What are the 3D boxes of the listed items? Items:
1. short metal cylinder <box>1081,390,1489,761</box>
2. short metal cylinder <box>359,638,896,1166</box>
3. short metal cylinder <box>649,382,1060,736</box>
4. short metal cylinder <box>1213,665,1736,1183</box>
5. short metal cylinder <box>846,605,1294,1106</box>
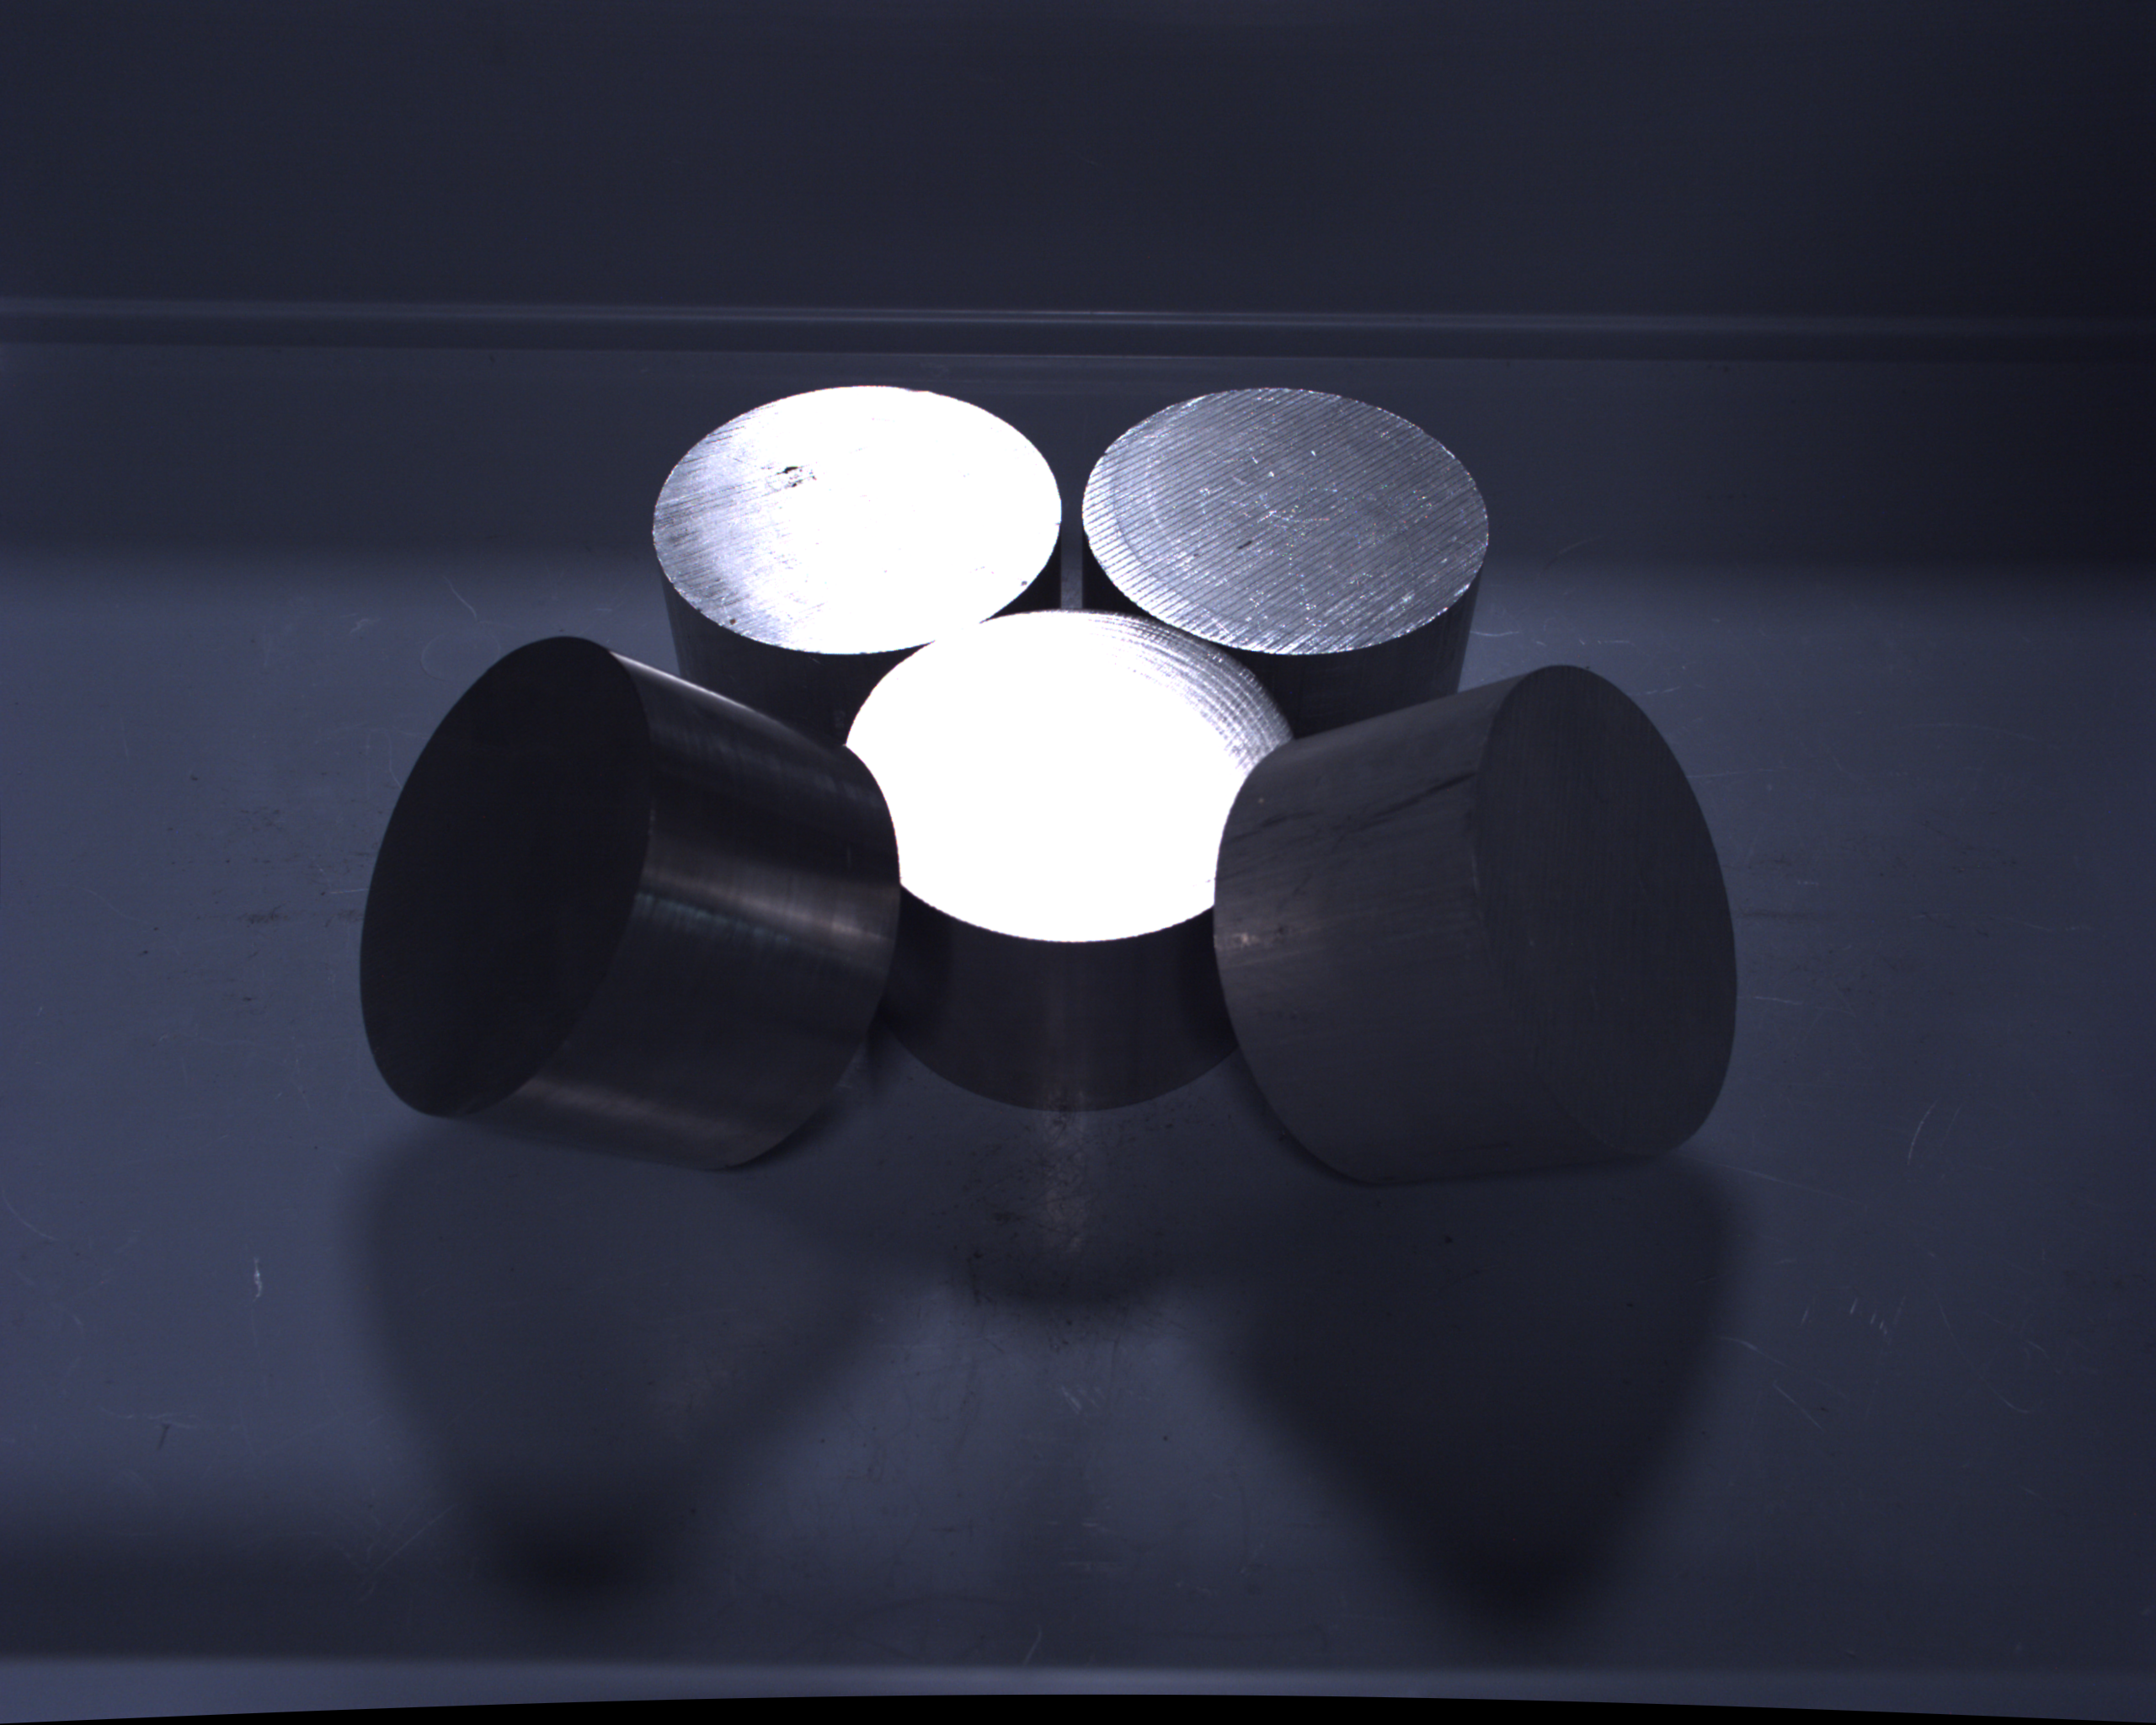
[{"bbox_3d":[0.041,-0.053,0.432,0.081,0.050,0.080,0,50,0],"label":"short metal cylinder"},{"bbox_3d":[-0.077,0.008,0.352,0.050,0.080,0.080,22,33,-44],"label":"short metal cylinder"},{"bbox_3d":[-0.044,-0.054,0.430,0.081,0.050,0.080,0,50,0],"label":"short metal cylinder"},{"bbox_3d":[0.068,0.012,0.350,0.050,0.080,0.080,-15,37,41],"label":"short metal cylinder"},{"bbox_3d":[-0.001,-0.002,0.386,0.081,0.050,0.080,0,50,0],"label":"short metal cylinder"}]
